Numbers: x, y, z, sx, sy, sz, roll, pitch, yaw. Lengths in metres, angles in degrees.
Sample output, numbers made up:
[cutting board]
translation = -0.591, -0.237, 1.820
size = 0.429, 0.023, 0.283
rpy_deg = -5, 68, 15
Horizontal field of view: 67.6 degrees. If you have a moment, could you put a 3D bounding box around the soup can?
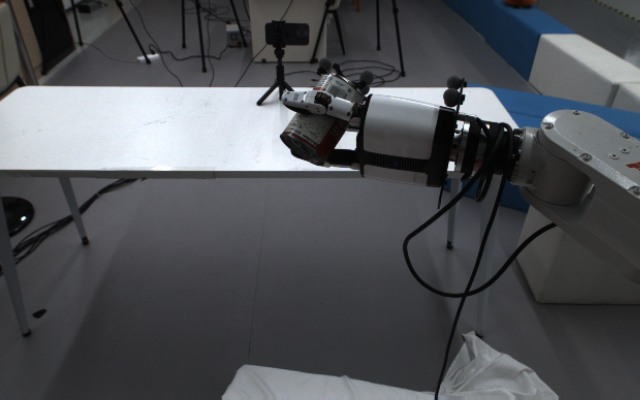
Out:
[soup can]
translation = 0.004, -0.105, 0.628
size = 0.067, 0.067, 0.101
rpy_deg = 27, 78, 31
